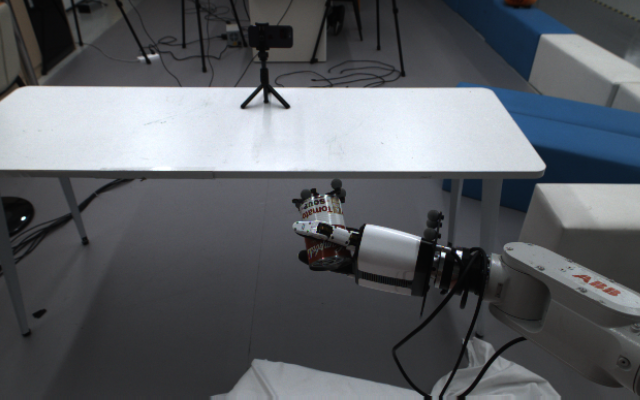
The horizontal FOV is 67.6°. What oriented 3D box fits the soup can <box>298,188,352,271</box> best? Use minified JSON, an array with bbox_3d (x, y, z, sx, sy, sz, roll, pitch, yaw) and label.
[{"bbox_3d":[0.009,0.052,0.743,0.067,0.067,0.101,-6,67,-12],"label":"soup can"}]
